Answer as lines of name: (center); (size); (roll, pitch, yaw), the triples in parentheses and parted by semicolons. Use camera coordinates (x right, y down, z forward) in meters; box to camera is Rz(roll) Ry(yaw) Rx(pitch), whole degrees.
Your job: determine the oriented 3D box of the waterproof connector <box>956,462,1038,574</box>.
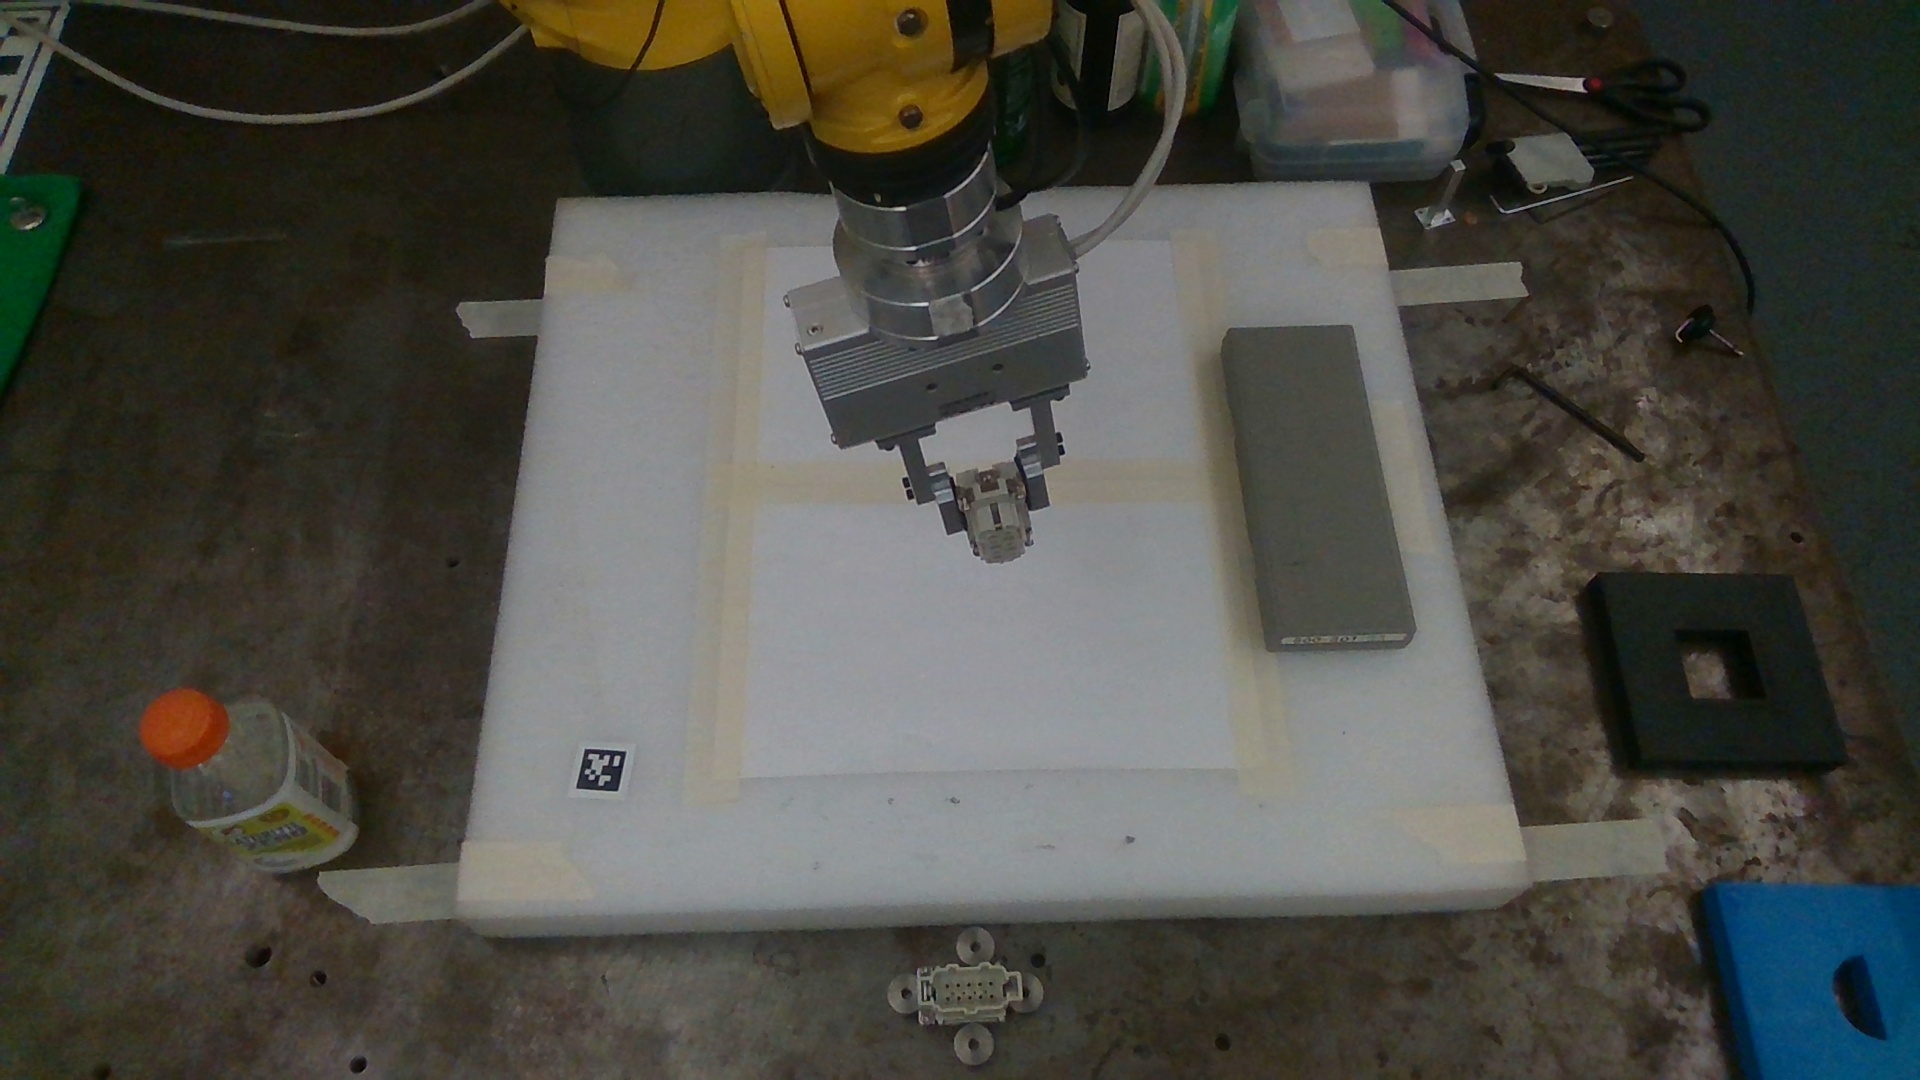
waterproof connector: (0.020, -0.011, 0.731); (0.037, 0.069, 0.038); (-11, 57, 3)
